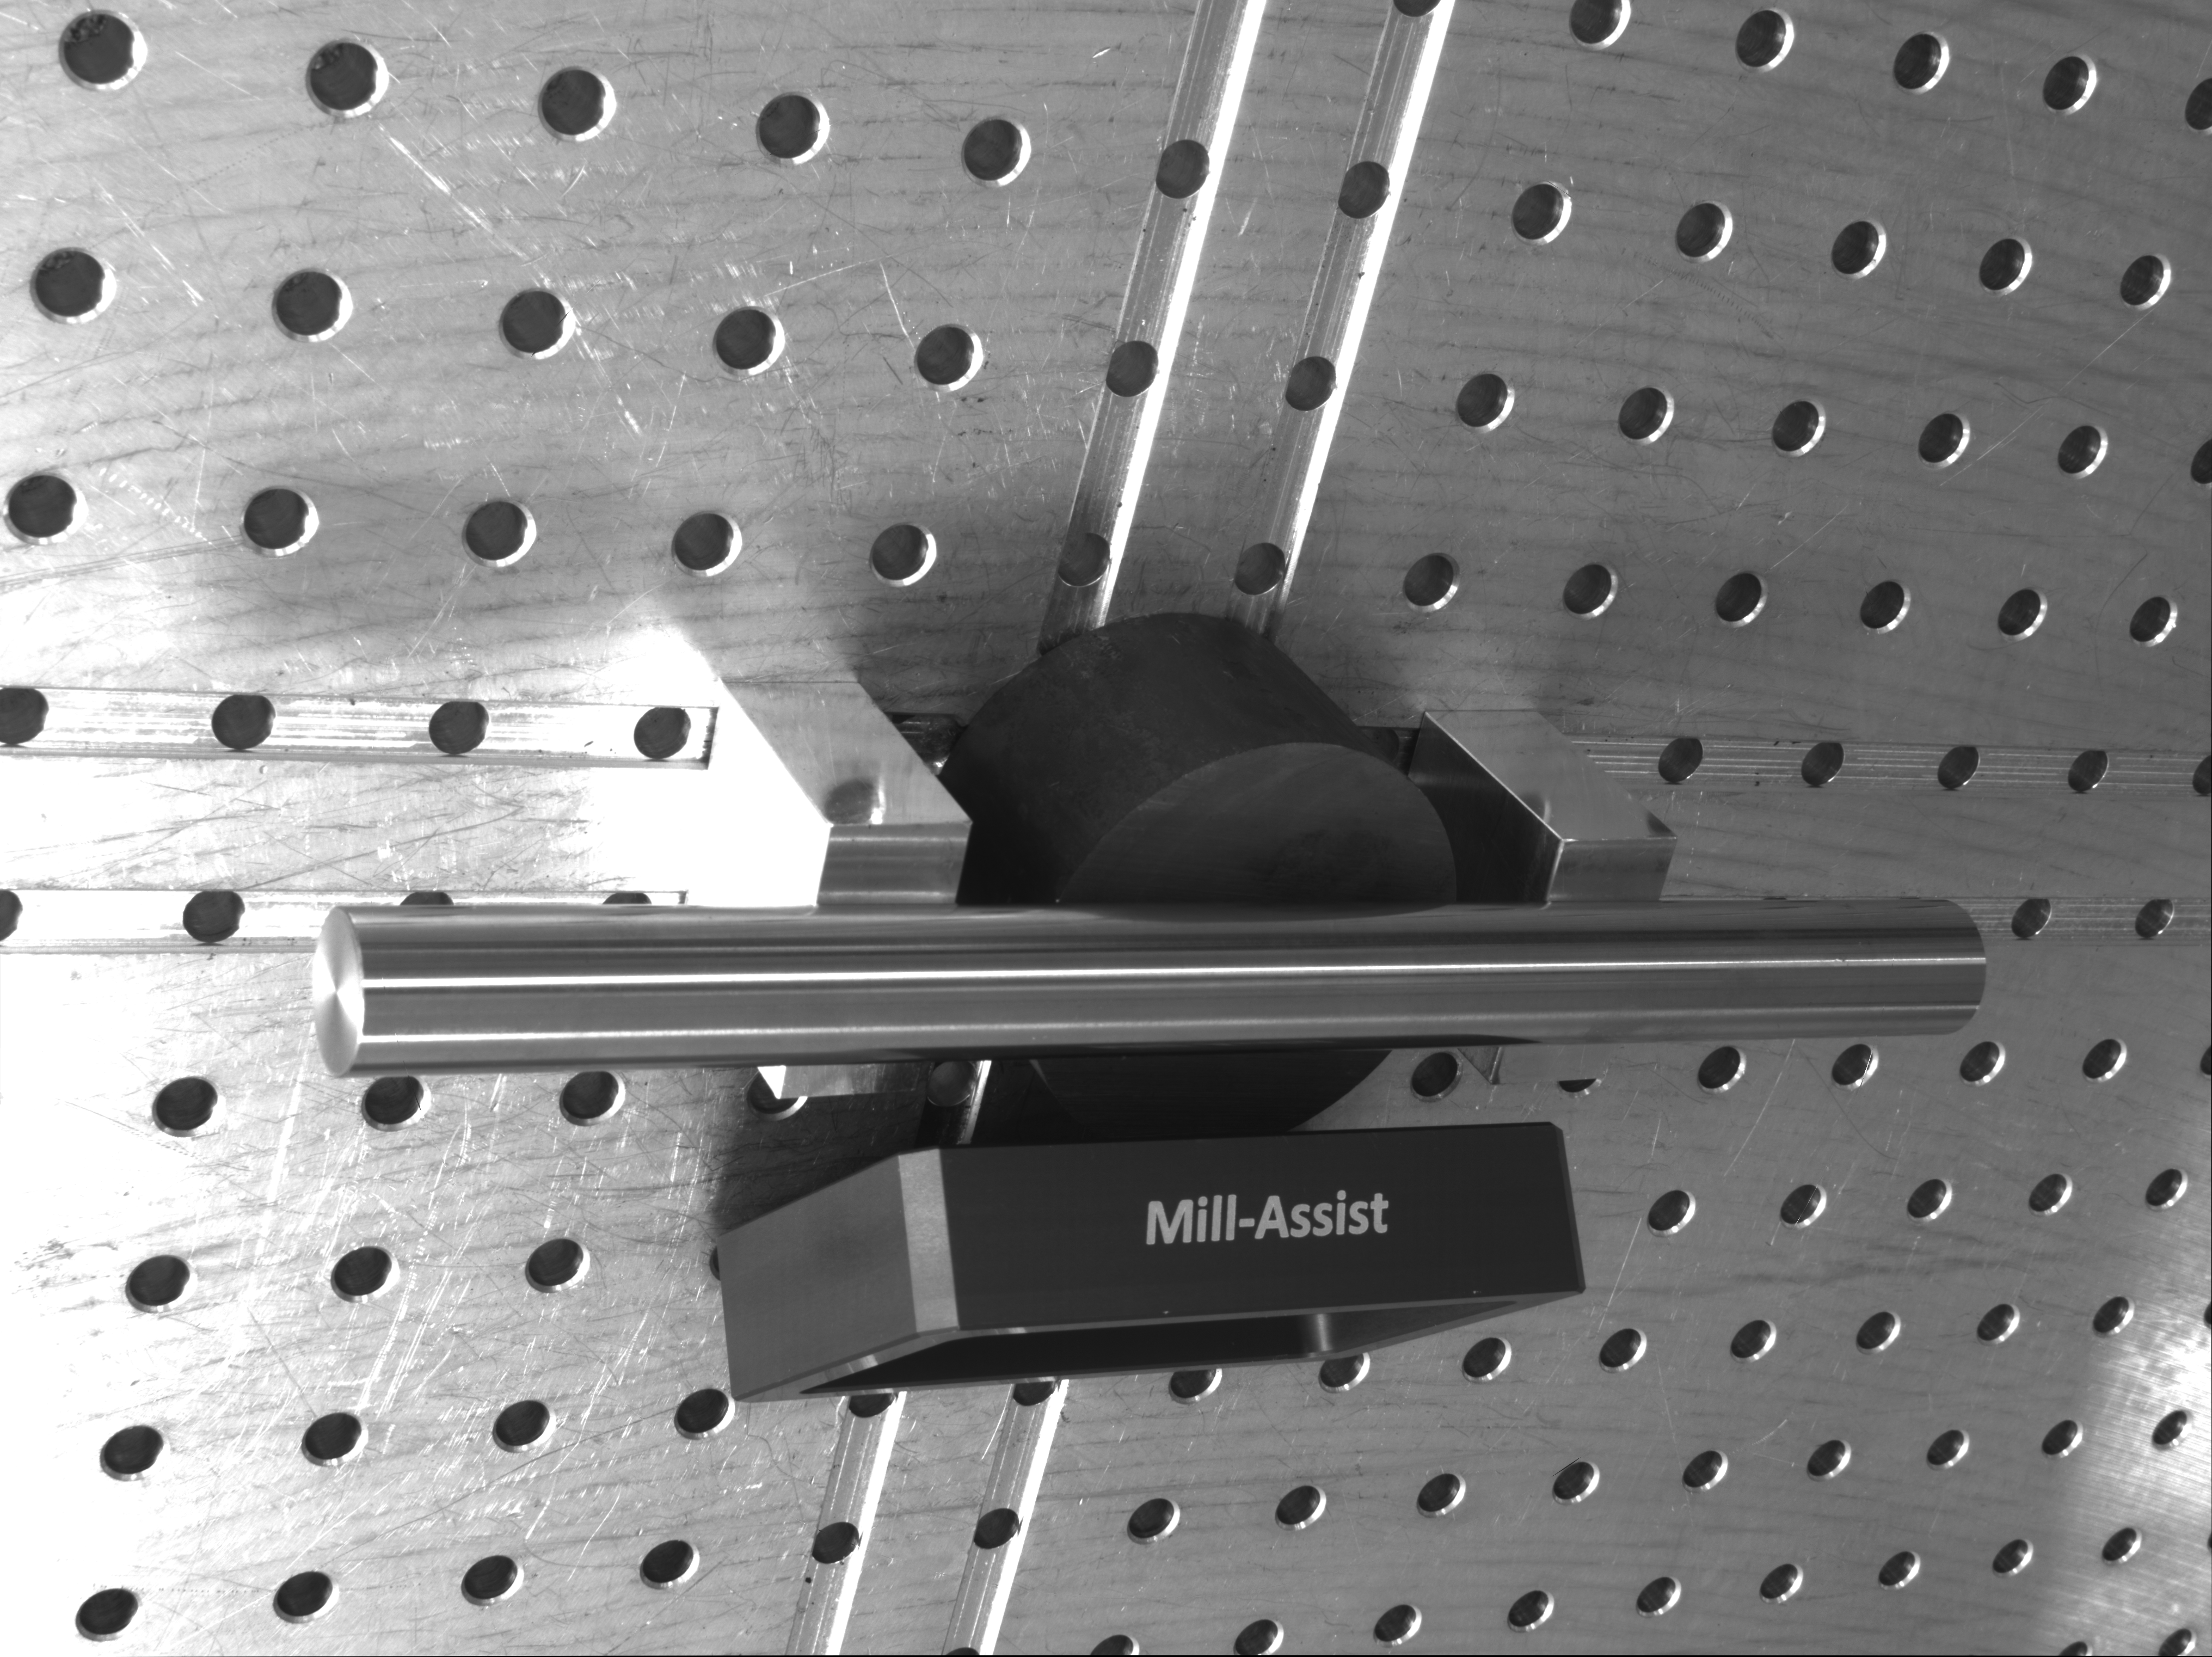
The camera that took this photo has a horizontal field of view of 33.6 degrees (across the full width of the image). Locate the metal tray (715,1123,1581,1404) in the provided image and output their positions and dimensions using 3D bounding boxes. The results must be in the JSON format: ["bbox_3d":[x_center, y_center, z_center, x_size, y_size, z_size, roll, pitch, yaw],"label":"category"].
[{"bbox_3d":[0.007,0.078,0.652,0.130,0.090,0.030,0,75,-28],"label":"metal tray"}]

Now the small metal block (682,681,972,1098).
[{"bbox_3d":[-0.048,0.009,0.604,0.025,0.050,0.050,-1,119,-28],"label":"small metal block"}]

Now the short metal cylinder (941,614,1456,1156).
[{"bbox_3d":[0.014,0.010,0.637,0.080,0.050,0.080,-14,124,-21],"label":"short metal cylinder"}]

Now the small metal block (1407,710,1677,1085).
[{"bbox_3d":[0.074,0.012,0.672,0.025,0.050,0.050,-1,119,-28],"label":"small metal block"}]

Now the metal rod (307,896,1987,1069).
[{"bbox_3d":[0.021,0.024,0.602,0.301,0.025,0.025,1,118,-28],"label":"metal rod"}]
